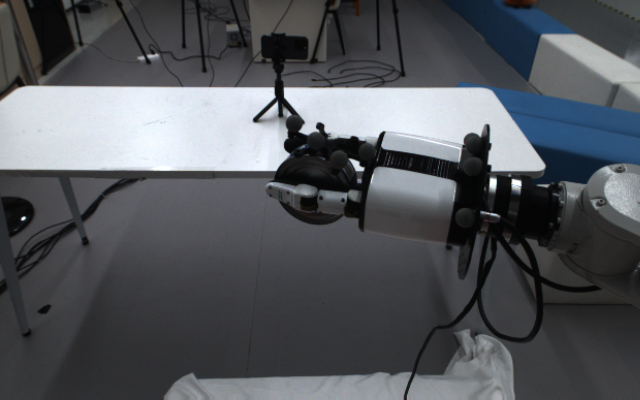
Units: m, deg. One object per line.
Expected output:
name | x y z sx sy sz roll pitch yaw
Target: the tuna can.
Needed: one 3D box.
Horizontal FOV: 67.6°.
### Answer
tuna can | -0.001 -0.019 0.523 0.085 0.085 0.034 12 33 14
